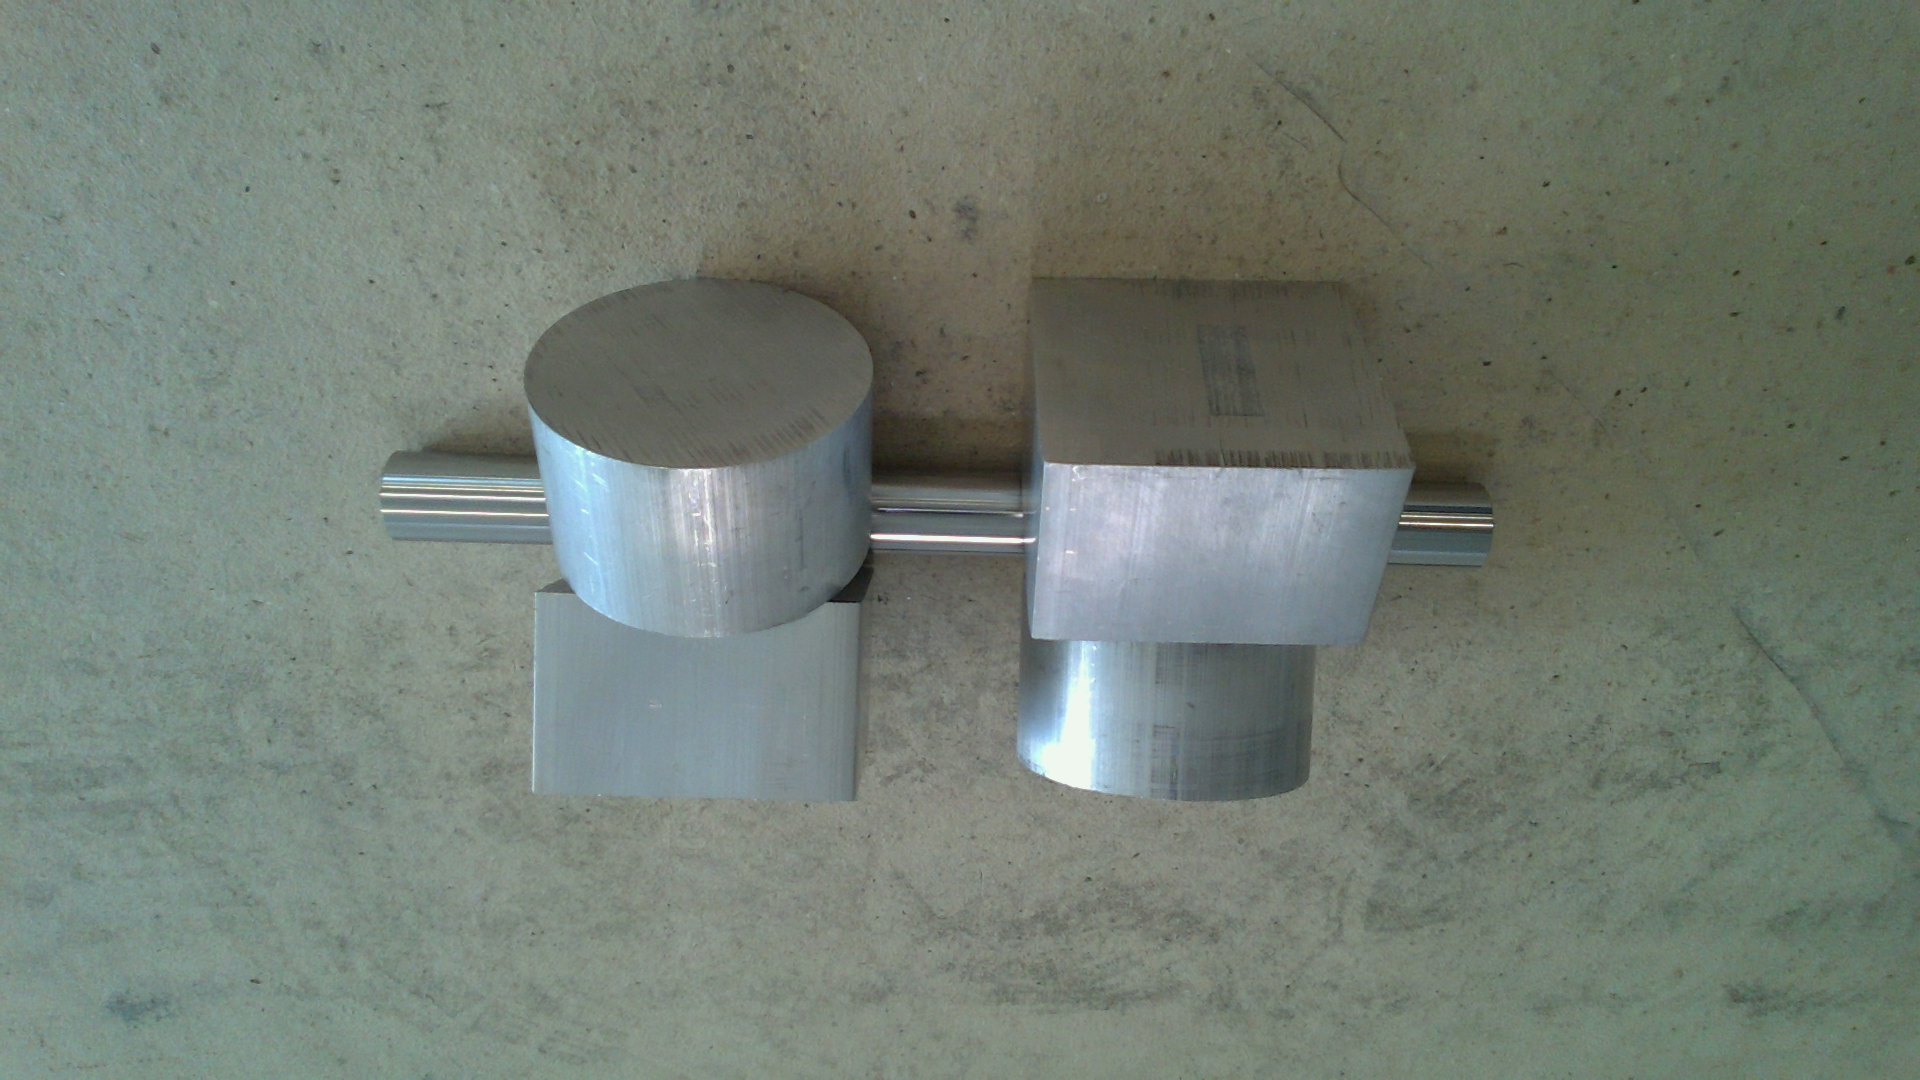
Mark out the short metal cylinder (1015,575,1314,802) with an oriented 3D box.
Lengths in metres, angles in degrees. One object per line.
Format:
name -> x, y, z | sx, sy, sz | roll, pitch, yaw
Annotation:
short metal cylinder -> 0.056, 0.036, 0.378 | 0.080, 0.080, 0.050 | 1, 95, -1

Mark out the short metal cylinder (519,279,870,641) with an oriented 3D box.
short metal cylinder -> -0.062, -0.021, 0.336 | 0.080, 0.080, 0.050 | 3, 130, -2

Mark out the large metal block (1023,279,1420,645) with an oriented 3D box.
large metal block -> 0.057, -0.021, 0.337 | 0.080, 0.080, 0.050 | 1, 130, -1

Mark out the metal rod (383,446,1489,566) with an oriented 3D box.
metal rod -> -0.005, -0.009, 0.385 | 0.300, 0.025, 0.025 | 2, 130, -2

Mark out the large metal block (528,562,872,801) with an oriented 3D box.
large metal block -> -0.066, 0.034, 0.375 | 0.080, 0.080, 0.050 | 2, 96, -2
